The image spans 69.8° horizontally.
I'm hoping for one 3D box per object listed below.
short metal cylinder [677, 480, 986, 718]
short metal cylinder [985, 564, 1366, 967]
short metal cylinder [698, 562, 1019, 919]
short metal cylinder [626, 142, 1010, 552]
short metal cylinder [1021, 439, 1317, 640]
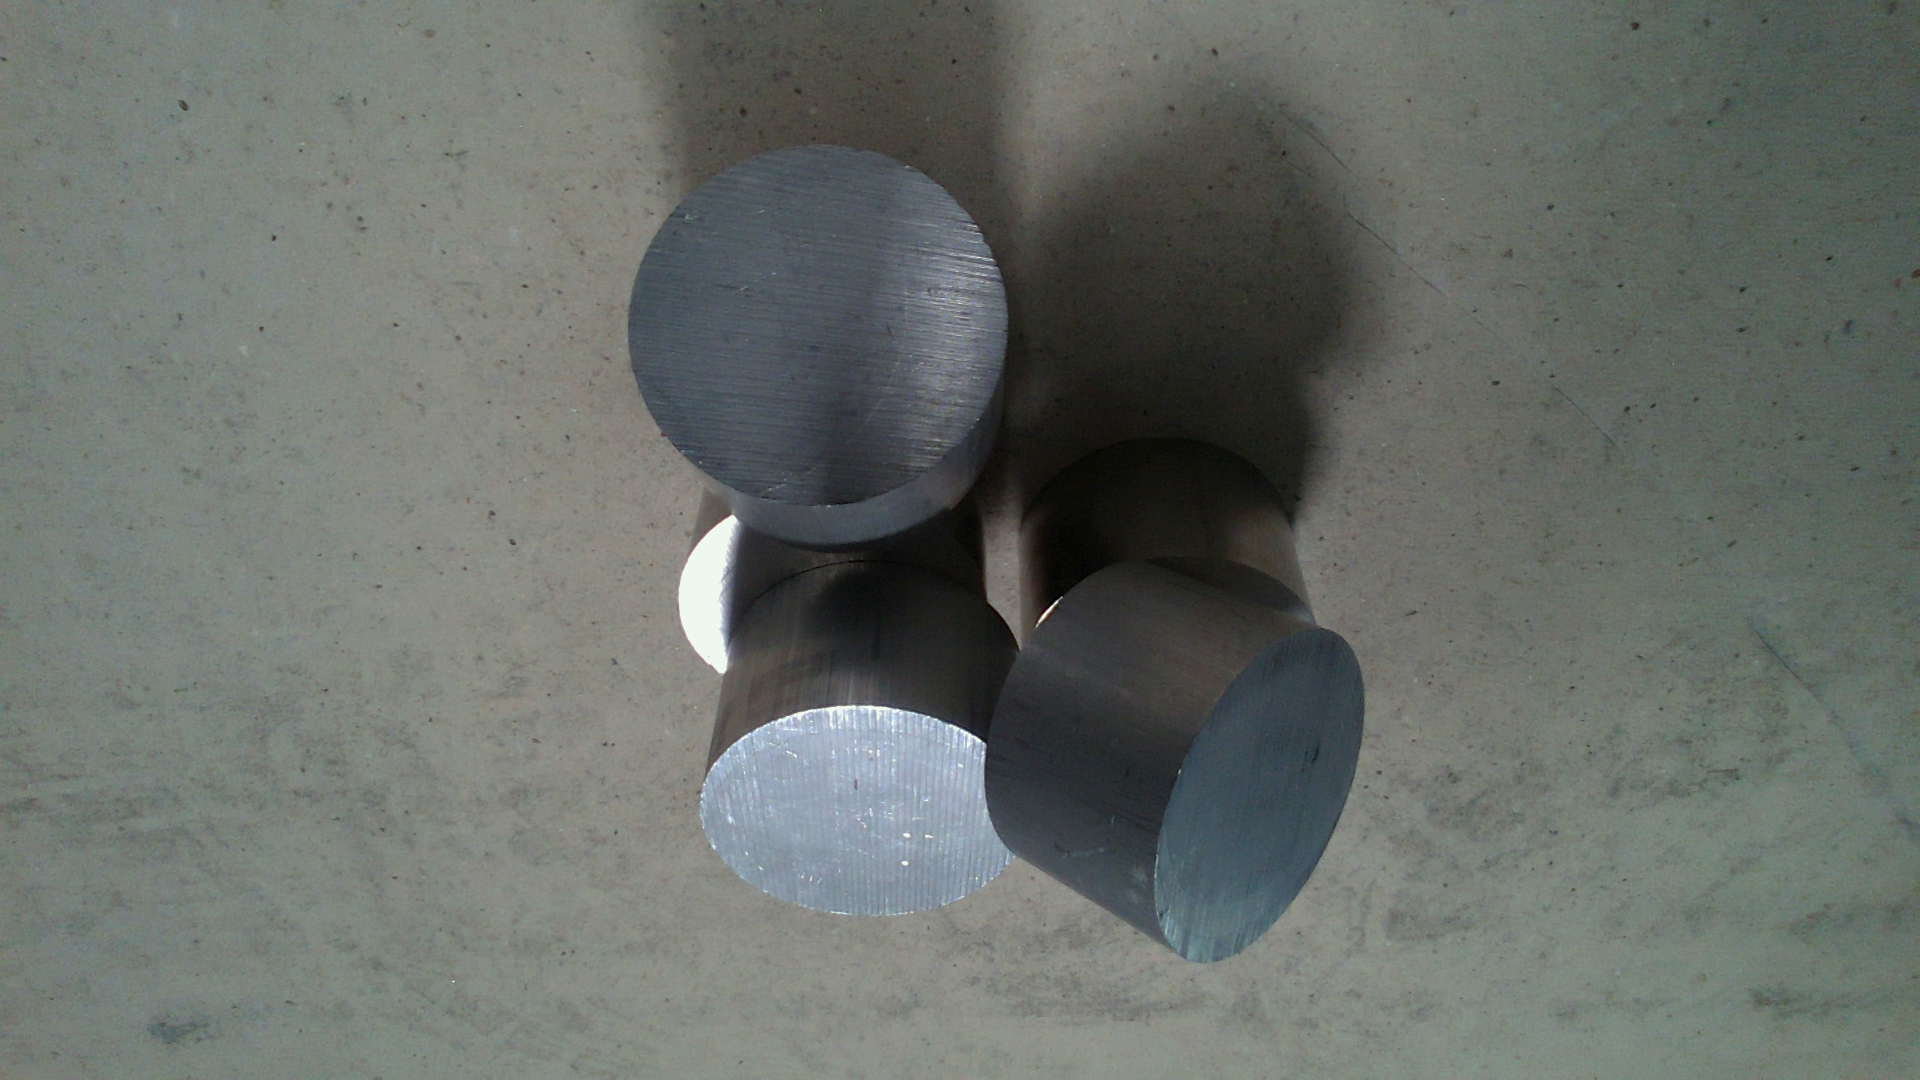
[{"bbox_3d":[-0.033,0.003,0.376,0.080,0.050,0.080,0,130,0],"label":"short metal cylinder"},{"bbox_3d":[0.052,0.051,0.323,0.050,0.080,0.080,21,145,41],"label":"short metal cylinder"},{"bbox_3d":[-0.023,0.052,0.352,0.080,0.050,0.080,0,130,0],"label":"short metal cylinder"},{"bbox_3d":[-0.029,-0.041,0.311,0.080,0.080,0.050,0,169,0],"label":"short metal cylinder"},{"bbox_3d":[0.057,0.018,0.389,0.080,0.050,0.080,0,130,0],"label":"short metal cylinder"}]
